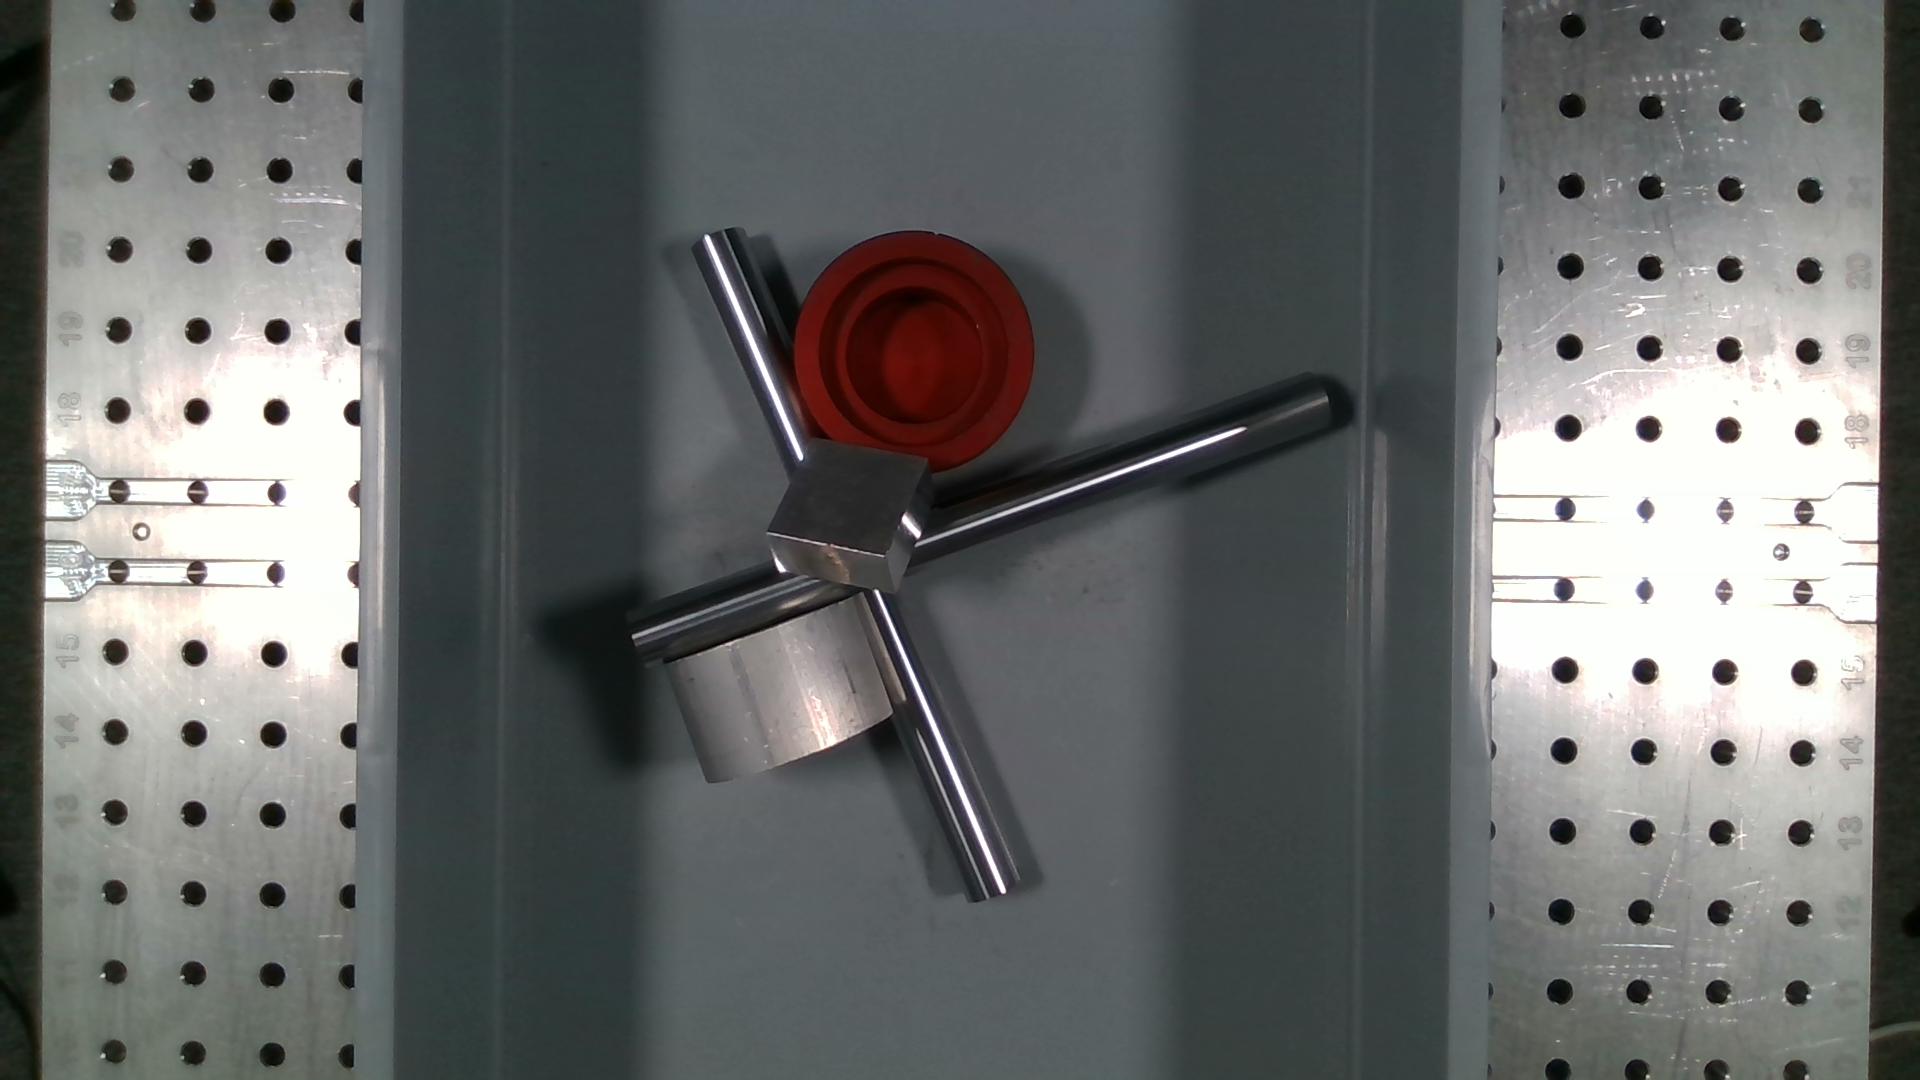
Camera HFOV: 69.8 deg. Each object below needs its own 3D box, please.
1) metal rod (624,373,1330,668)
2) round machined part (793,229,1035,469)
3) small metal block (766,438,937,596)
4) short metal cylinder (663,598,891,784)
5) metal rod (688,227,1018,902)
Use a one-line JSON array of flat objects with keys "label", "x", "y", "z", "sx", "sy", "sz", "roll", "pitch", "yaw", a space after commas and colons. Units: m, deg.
[{"label": "metal rod", "x": 0.011, "y": -0.010, "z": 0.568, "sx": 0.300, "sy": 0.025, "sz": 0.025, "roll": -19, "pitch": 90, "yaw": -7}, {"label": "round machined part", "x": -0.019, "y": -0.077, "z": 0.577, "sx": 0.098, "sy": 0.042, "sz": 0.098, "roll": 0, "pitch": 90, "yaw": 0}, {"label": "small metal block", "x": -0.042, "y": -0.010, "z": 0.545, "sx": 0.050, "sy": 0.025, "sz": 0.050, "roll": 11, "pitch": 56, "yaw": 16}, {"label": "short metal cylinder", "x": -0.073, "y": 0.060, "z": 0.559, "sx": 0.080, "sy": 0.080, "sz": 0.050, "roll": -20, "pitch": 90, "yaw": 0}, {"label": "metal rod", "x": -0.045, "y": 0.011, "z": 0.586, "sx": 0.025, "sy": 0.025, "sz": 0.300, "roll": -23, "pitch": 91, "yaw": 0}]
